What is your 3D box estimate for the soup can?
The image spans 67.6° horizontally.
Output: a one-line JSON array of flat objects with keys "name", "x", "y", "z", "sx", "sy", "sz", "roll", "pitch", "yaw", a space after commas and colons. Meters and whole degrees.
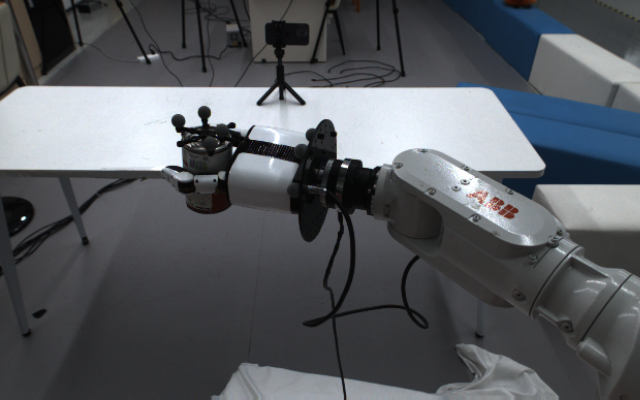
[{"name": "soup can", "x": -0.152, "y": -0.039, "z": 0.659, "sx": 0.067, "sy": 0.101, "sz": 0.067, "roll": 5, "pitch": 37, "yaw": -4}]
